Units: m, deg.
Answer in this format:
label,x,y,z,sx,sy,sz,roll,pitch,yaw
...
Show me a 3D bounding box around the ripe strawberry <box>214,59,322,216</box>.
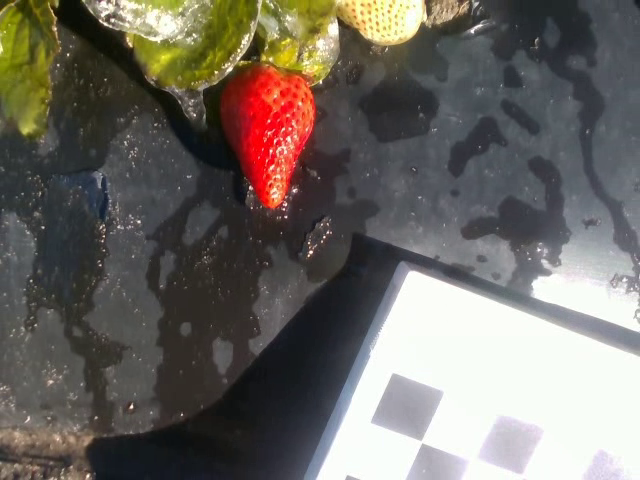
label,x,y,z,sx,sy,sz,roll,pitch,yaw
ripe strawberry,-0.018,-0.036,0.224,0.041,0.052,0.040,3,4,-5
